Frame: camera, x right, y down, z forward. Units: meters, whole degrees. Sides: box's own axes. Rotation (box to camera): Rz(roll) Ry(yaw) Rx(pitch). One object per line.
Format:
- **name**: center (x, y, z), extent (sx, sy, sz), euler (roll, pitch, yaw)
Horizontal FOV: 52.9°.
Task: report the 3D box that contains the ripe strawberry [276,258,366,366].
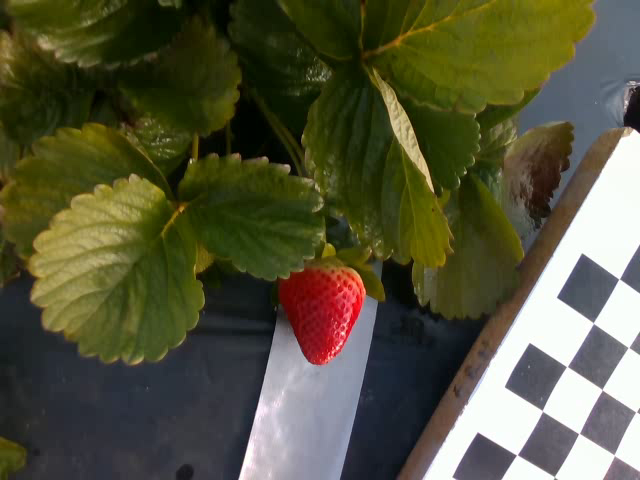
- **ripe strawberry**: center (0.002, 0.031, 0.258), extent (0.050, 0.055, 0.035), euler (27, -20, -22)
